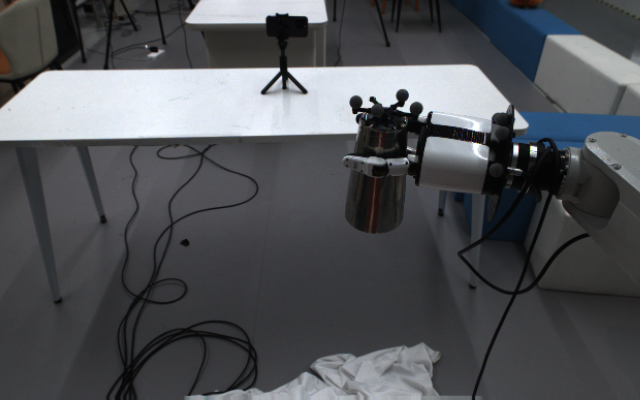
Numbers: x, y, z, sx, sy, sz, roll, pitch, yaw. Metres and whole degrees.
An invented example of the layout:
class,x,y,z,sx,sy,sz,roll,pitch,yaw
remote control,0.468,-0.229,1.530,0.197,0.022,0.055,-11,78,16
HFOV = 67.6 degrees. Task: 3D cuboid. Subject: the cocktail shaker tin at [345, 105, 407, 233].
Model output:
class,x,y,z,sx,sy,sz,roll,pitch,yaw
cocktail shaker tin,0.089,-0.048,0.709,0.093,0.170,0.093,1,39,-1
